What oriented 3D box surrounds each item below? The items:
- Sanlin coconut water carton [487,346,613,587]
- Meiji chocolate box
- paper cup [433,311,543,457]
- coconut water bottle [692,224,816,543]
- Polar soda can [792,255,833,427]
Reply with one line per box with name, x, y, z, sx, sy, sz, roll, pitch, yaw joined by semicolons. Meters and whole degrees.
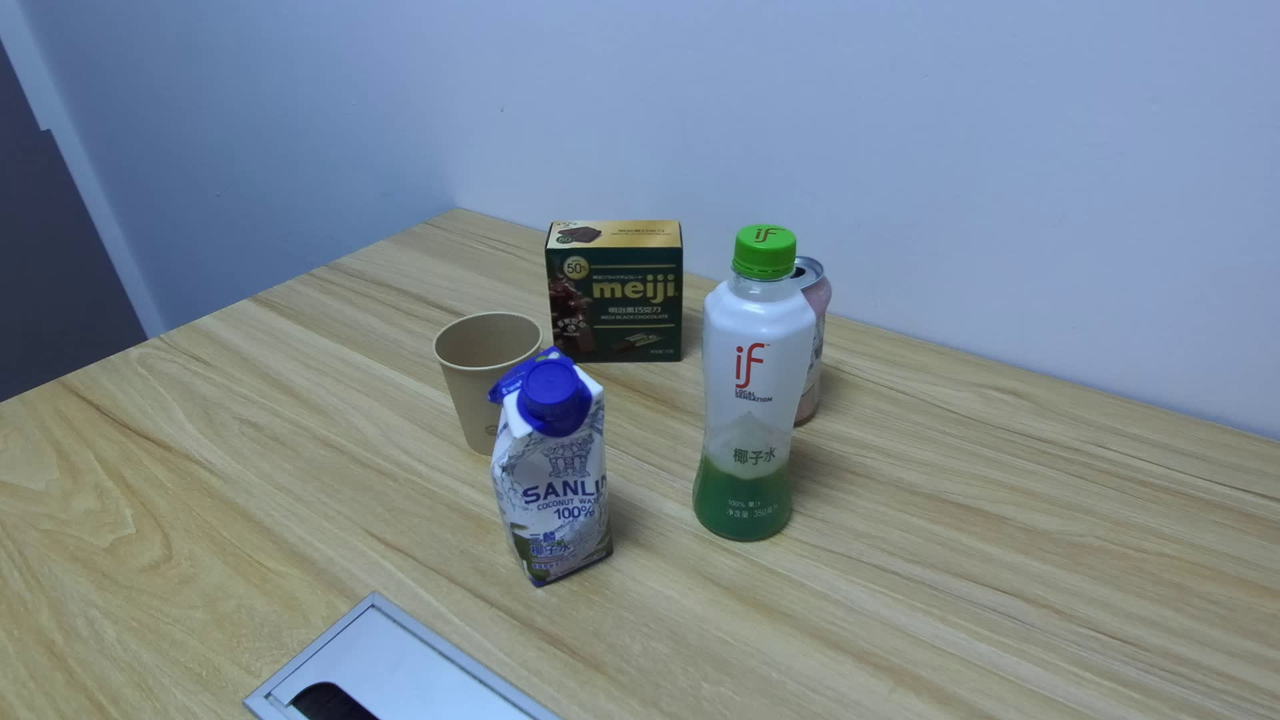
Sanlin coconut water carton;-0.053;0.056;0.394;0.061;0.144;0.069;-18;38;-22
Meiji chocolate box;-0.018;-0.055;0.586;0.110;0.109;0.056;0;33;1
paper cup;-0.102;0.021;0.506;0.075;0.082;0.075;0;34;0
coconut water bottle;0.065;0.017;0.404;0.063;0.189;0.063;-1;33;1
Polar soda can;0.099;-0.012;0.517;0.071;0.122;0.066;8;37;18
